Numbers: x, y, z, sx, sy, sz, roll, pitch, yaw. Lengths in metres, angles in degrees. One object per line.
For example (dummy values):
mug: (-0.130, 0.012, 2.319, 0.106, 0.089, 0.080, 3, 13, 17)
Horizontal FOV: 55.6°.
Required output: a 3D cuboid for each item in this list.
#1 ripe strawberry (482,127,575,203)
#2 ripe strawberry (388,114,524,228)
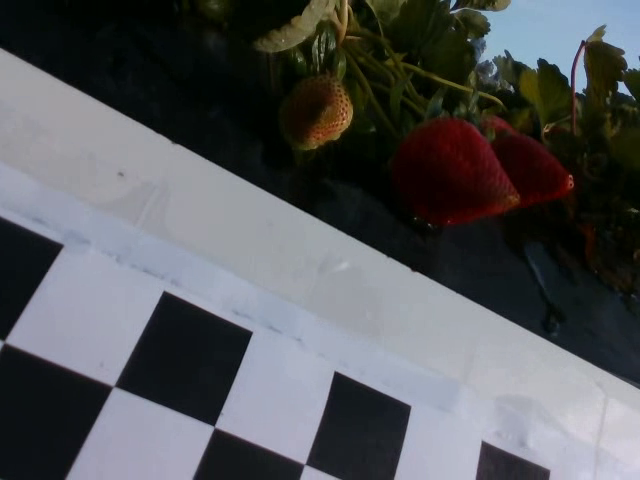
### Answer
ripe strawberry: (0.108, -0.033, 0.317, 0.055, 0.042, 0.044, 21, 50, 42)
ripe strawberry: (0.059, -0.028, 0.247, 0.050, 0.050, 0.065, -13, 24, -26)
